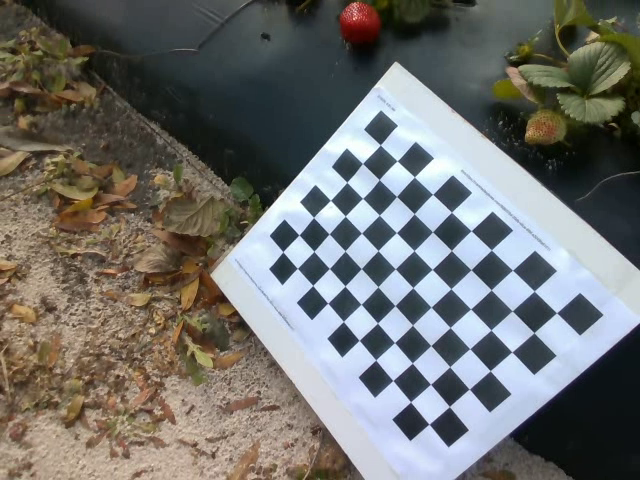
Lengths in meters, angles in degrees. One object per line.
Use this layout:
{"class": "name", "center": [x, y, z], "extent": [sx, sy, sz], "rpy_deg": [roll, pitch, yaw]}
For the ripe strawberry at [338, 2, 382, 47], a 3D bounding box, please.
{"class": "ripe strawberry", "center": [0.036, -0.154, 0.518], "extent": [0.037, 0.034, 0.039], "rpy_deg": [-40, -5, 25]}
